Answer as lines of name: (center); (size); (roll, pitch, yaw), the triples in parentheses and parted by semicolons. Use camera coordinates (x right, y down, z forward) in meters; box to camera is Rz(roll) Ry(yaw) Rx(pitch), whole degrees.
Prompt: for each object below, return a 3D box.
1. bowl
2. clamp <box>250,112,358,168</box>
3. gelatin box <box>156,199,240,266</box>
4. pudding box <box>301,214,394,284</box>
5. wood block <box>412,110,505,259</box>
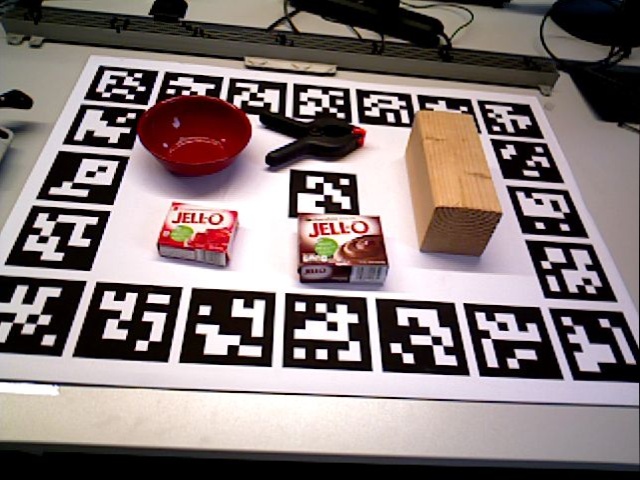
bowl: (-0.179, -0.145, 0.790); (0.160, 0.056, 0.159); (4, 53, -6)
clamp: (-0.021, -0.158, 0.837); (0.163, 0.037, 0.120); (-3, 51, -13)
gelatin box: (-0.152, -0.011, 0.688); (0.089, 0.031, 0.072); (10, 51, 0)
pudding box: (0.032, 0.010, 0.693); (0.113, 0.039, 0.088); (2, 54, -3)
wood block: (0.191, -0.084, 0.757); (0.089, 0.093, 0.202); (6, 50, -5)
